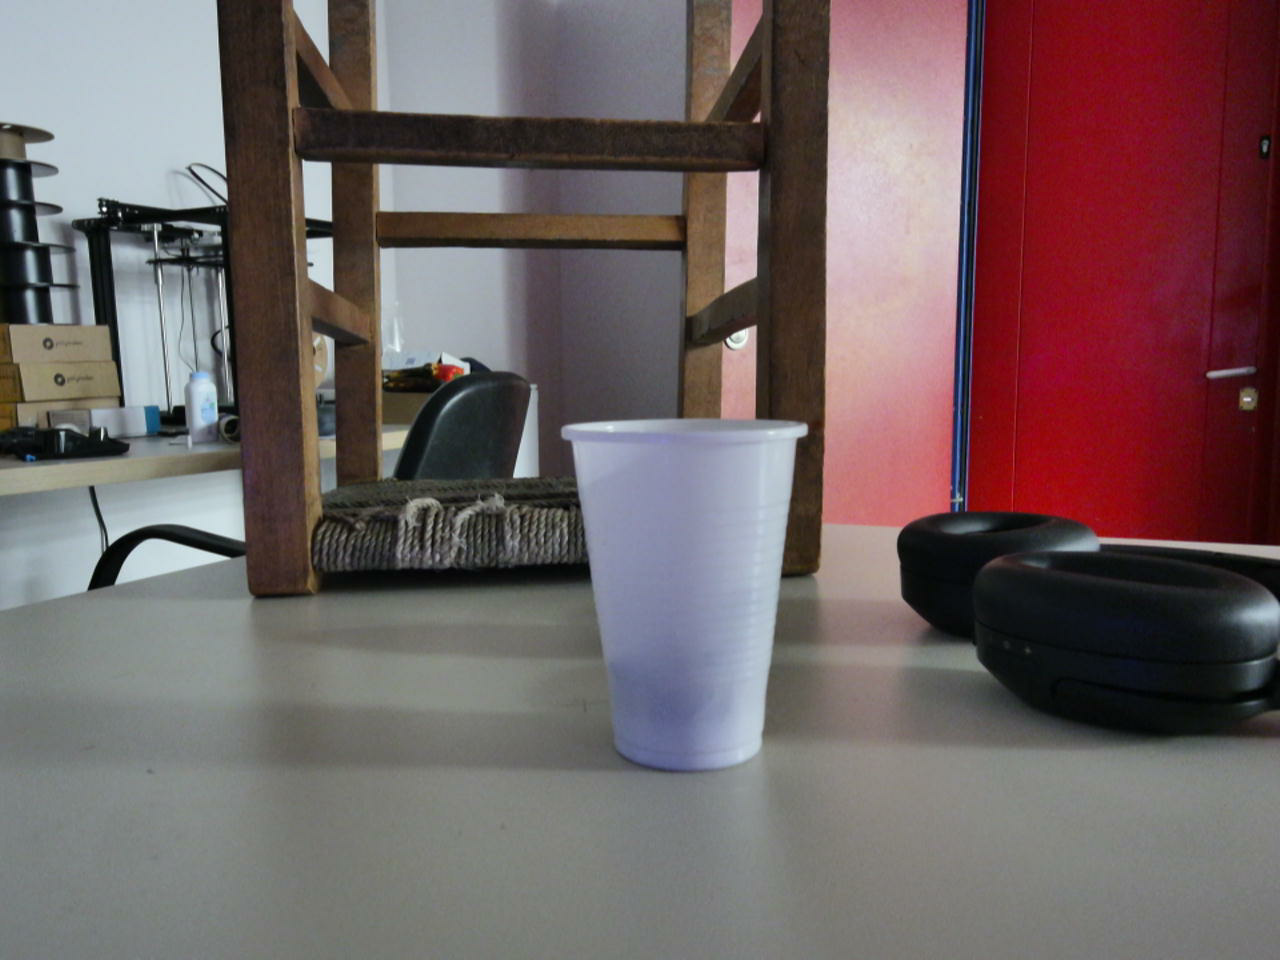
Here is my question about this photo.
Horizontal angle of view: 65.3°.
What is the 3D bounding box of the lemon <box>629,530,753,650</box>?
[{"bbox_3d":[0.023,0.048,0.447,0.057,0.051,0.054,1,4,21],"label":"lemon"}]
